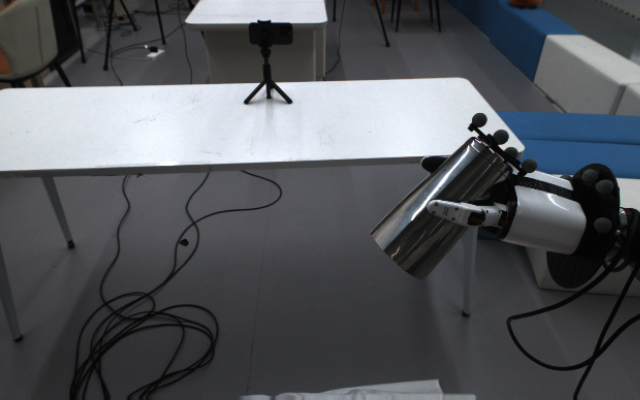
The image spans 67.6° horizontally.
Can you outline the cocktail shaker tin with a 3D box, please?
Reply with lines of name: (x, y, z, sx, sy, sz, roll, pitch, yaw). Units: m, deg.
cocktail shaker tin: (0.154, 0.002, 0.603, 0.093, 0.170, 0.093, 41, 12, -11)
